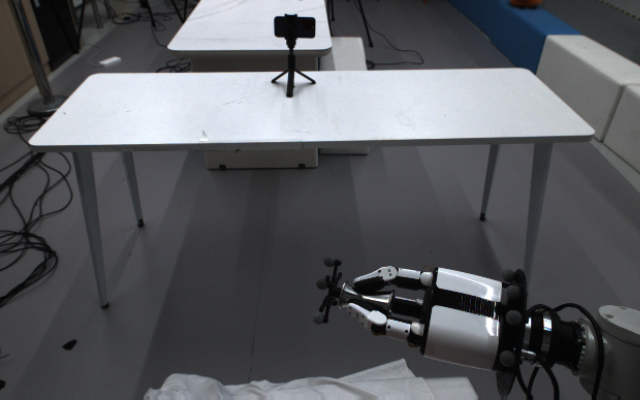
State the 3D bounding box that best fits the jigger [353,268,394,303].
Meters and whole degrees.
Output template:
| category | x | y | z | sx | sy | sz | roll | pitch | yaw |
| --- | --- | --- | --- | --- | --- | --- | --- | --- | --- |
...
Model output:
| category | x | y | z | sx | sy | sz | roll | pitch | yaw |
| --- | --- | --- | --- | --- | --- | --- | --- | --- | --- |
| jigger | 0.070 | 0.133 | 0.658 | 0.071 | 0.043 | 0.043 | 11 | 36 | 16 |
